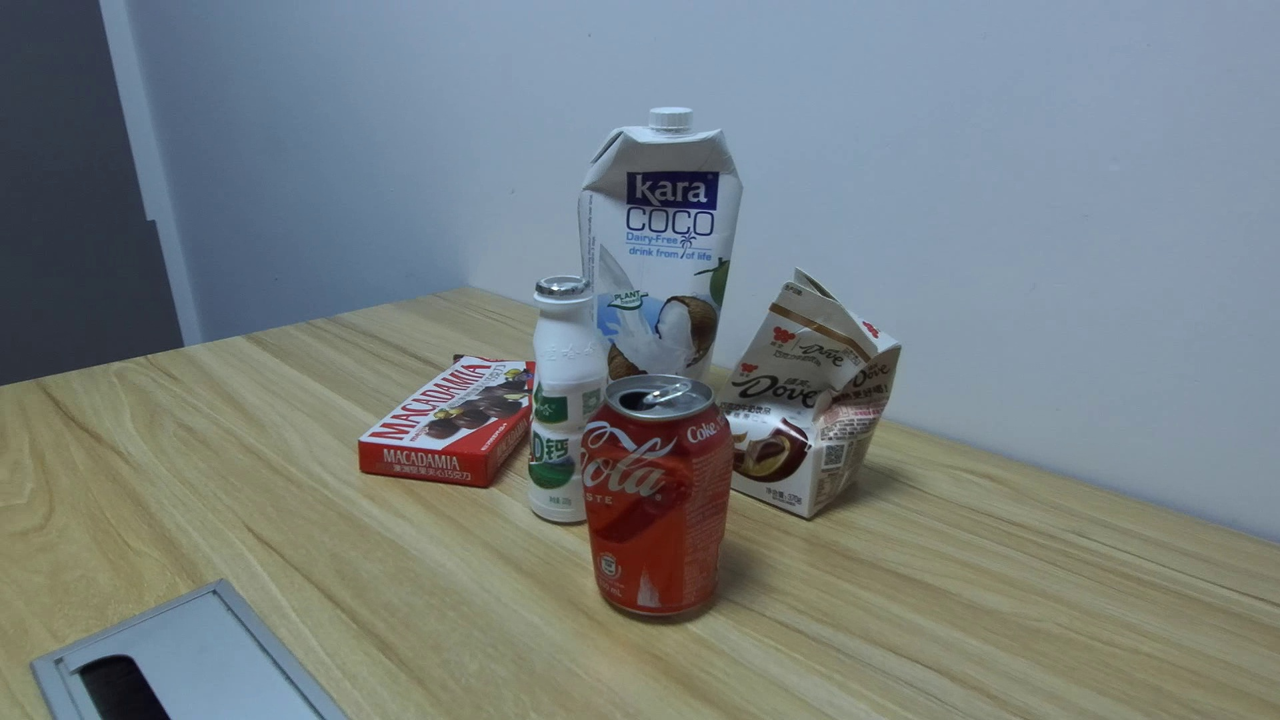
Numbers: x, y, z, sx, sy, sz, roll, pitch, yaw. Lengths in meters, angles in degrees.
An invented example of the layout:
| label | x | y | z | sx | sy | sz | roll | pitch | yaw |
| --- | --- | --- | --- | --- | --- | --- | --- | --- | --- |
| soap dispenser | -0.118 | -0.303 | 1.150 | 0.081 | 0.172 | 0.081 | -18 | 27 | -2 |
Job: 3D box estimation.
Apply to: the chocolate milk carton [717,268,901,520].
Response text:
| label | x | y | z | sx | sy | sz | roll | pitch | yaw |
| --- | --- | --- | --- | --- | --- | --- | --- | --- | --- |
| chocolate milk carton | 0.106 | 0.021 | 0.449 | 0.089 | 0.155 | 0.077 | 30 | 37 | 26 |

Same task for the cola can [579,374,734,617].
| label | x | y | z | sx | sy | sz | roll | pitch | yaw |
| --- | --- | --- | --- | --- | --- | --- | --- | --- | --- |
| cola can | 0.010 | 0.067 | 0.360 | 0.065 | 0.117 | 0.067 | 16 | 26 | 35 |

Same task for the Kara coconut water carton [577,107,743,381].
| label | x | y | z | sx | sy | sz | roll | pitch | yaw |
| --- | --- | --- | --- | --- | --- | --- | --- | --- | --- |
| Kara coconut water carton | 0.011 | -0.060 | 0.519 | 0.115 | 0.238 | 0.069 | 2 | 19 | -6 |

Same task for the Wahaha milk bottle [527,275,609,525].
| label | x | y | z | sx | sy | sz | roll | pitch | yaw |
| --- | --- | --- | --- | --- | --- | --- | --- | --- | --- |
| Wahaha milk bottle | -0.045 | 0.023 | 0.431 | 0.056 | 0.148 | 0.056 | 1 | 27 | 0 |

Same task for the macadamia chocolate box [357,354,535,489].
| label | x | y | z | sx | sy | sz | roll | pitch | yaw |
| --- | --- | --- | --- | --- | --- | --- | --- | --- | --- |
| macadamia chocolate box | -0.129 | 0.039 | 0.554 | 0.105 | 0.028 | 0.183 | 5 | 21 | 8 |
